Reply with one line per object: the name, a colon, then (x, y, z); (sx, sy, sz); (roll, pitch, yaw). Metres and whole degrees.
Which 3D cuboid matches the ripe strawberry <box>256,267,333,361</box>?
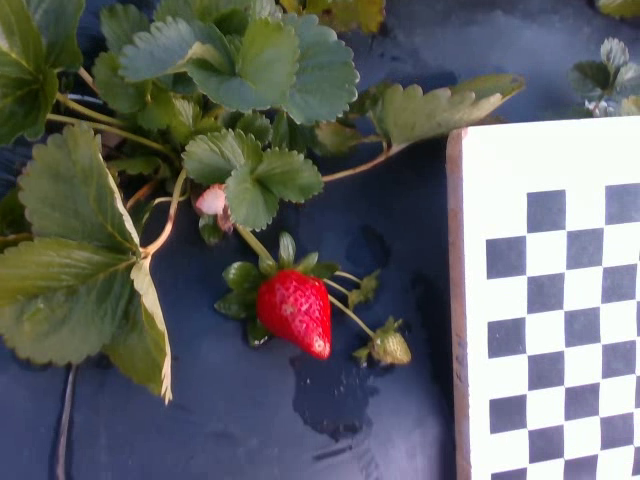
ripe strawberry: (-0.008, 0.045, 0.310); (0.043, 0.052, 0.057); (-30, 40, -1)
